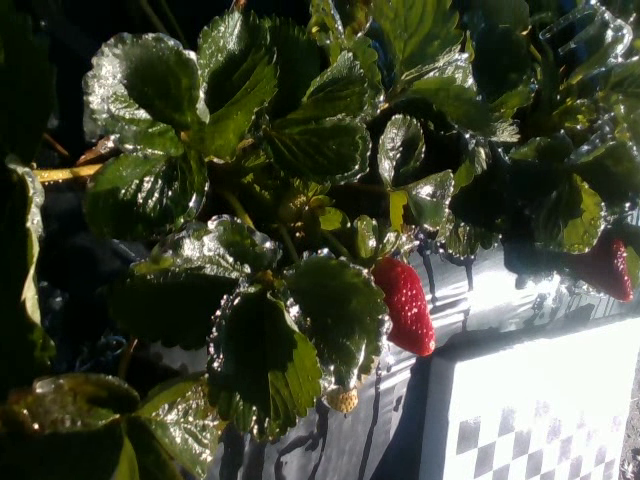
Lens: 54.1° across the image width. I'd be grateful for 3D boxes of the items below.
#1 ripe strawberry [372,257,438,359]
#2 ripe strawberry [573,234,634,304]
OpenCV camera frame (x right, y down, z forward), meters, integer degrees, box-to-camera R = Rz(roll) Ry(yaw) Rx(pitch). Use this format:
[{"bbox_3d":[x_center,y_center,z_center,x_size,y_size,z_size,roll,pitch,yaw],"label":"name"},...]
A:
[{"bbox_3d":[0.043,0.041,0.333,0.042,0.061,0.046,-19,-19,-36],"label":"ripe strawberry"},{"bbox_3d":[0.221,0.024,0.475,0.048,0.061,0.044,-10,-15,-39],"label":"ripe strawberry"}]
